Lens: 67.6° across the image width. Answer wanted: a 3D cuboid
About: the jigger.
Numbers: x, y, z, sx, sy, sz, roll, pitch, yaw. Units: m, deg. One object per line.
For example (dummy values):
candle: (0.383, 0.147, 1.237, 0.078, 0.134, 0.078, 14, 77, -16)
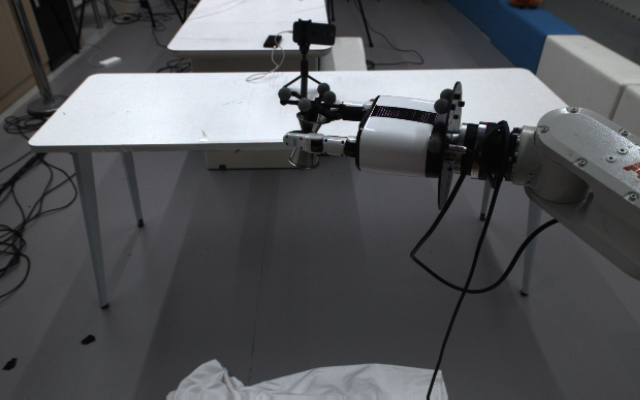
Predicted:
jigger: (-0.018, -0.082, 0.661, 0.043, 0.071, 0.043, 9, 30, -5)
